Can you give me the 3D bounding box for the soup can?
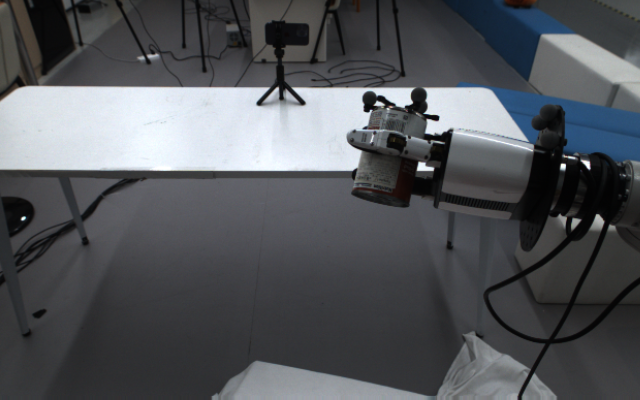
[{"bbox_3d":[0.082,-0.049,0.557,0.067,0.101,0.067,13,-6,1],"label":"soup can"}]
